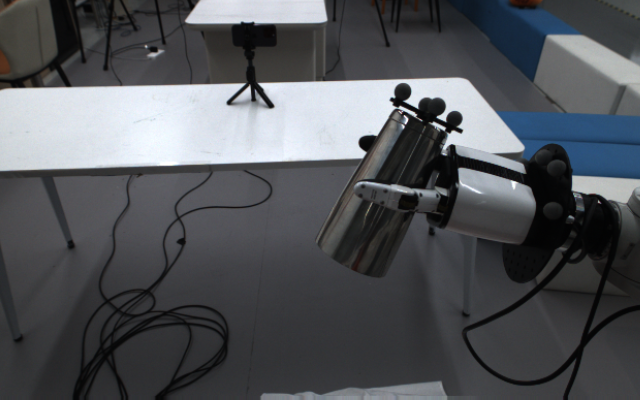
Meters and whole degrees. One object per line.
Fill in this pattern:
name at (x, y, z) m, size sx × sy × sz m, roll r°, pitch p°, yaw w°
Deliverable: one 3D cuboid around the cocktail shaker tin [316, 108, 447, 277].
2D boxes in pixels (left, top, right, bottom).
cocktail shaker tin at (0.075, -0.012, 0.541) m, size 0.093 × 0.170 × 0.093 m, roll 24°, pitch 12°, yaw -6°
